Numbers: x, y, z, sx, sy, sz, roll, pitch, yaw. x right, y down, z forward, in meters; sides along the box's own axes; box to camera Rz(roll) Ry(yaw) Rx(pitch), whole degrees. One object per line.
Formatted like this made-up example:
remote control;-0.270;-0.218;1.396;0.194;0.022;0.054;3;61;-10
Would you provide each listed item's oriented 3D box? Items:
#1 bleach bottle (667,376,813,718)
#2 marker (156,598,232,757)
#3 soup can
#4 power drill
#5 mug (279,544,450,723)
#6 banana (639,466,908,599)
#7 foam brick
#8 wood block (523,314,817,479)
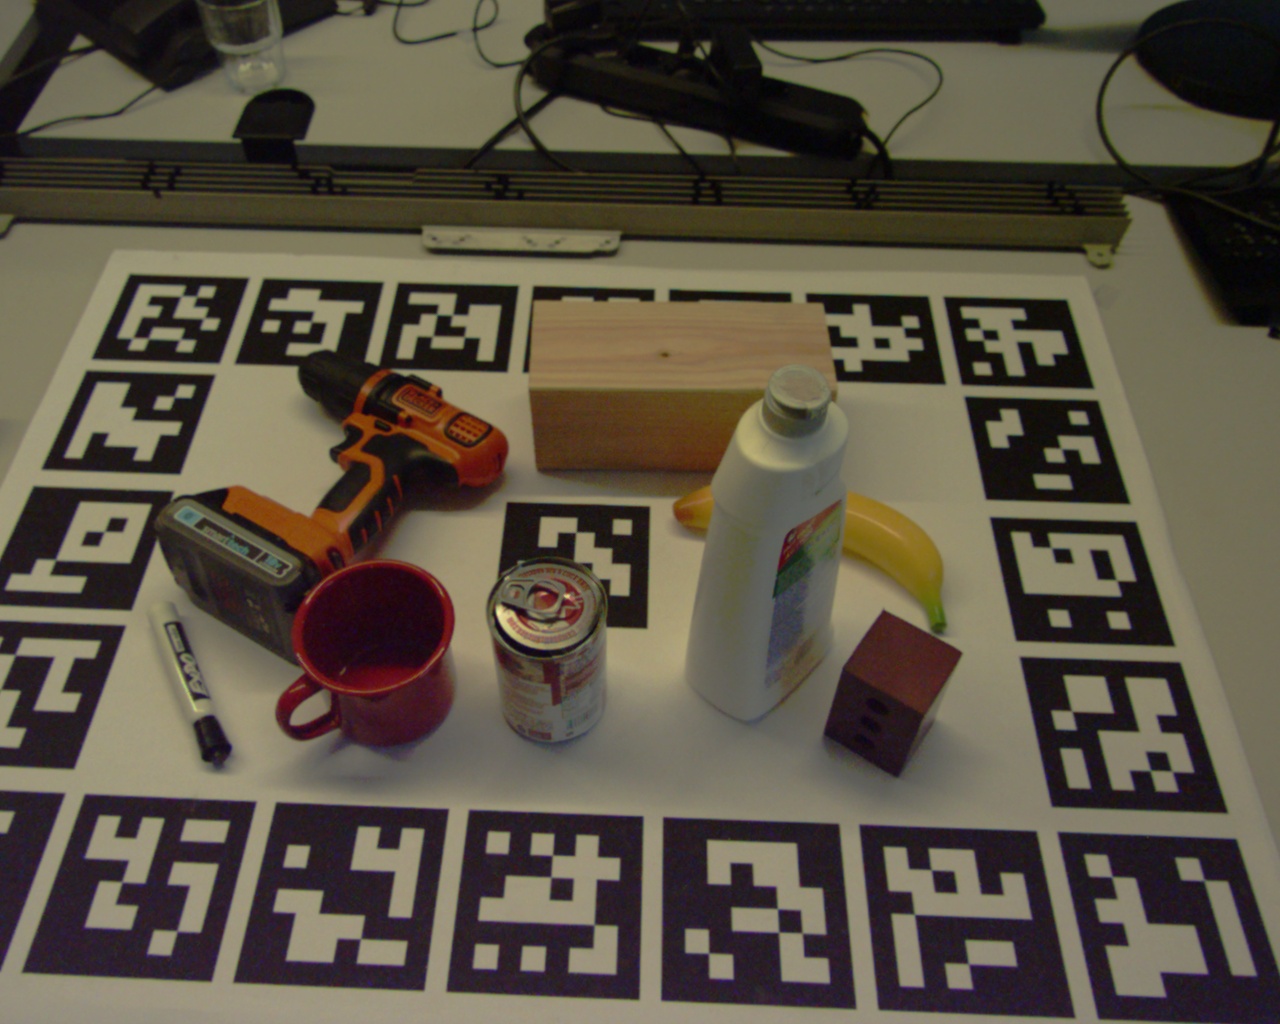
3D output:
bleach bottle;0.064;0.017;0.663;0.068;0.250;0.102;26;54;18
marker;-0.289;0.106;0.737;0.019;0.019;0.122;-24;56;-16
soup can;-0.063;0.078;0.699;0.068;0.102;0.068;2;48;-3
power drill;-0.216;-0.018;0.817;0.186;0.057;0.186;27;55;16
mug;-0.172;0.087;0.710;0.116;0.081;0.094;-39;64;-24
banana;0.099;0.001;0.807;0.198;0.039;0.074;16;67;9
foam brick;0.139;0.110;0.701;0.053;0.078;0.051;29;54;22
wood block;0.021;-0.086;0.847;0.206;0.090;0.090;1;53;0
